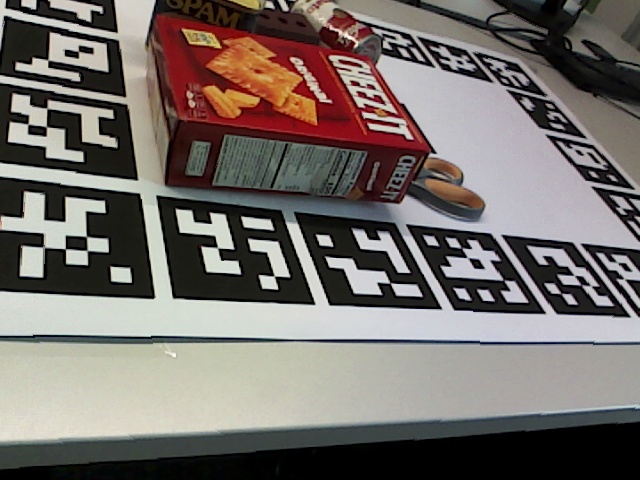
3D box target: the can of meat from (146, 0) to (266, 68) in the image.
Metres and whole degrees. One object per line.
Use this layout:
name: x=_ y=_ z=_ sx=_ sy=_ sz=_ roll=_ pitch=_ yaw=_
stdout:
can of meat: x=-0.115 y=-0.206 z=0.614 sx=0.101 sy=0.084 sz=0.058 roll=13 pitch=42 yaw=-19

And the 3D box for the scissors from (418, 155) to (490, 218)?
scissors: x=0.076 y=-0.055 z=0.600 sx=0.201 sy=0.016 sz=0.088 roll=-2 pitch=48 yaw=-32

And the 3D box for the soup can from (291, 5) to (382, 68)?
soup can: x=0.013 y=-0.230 z=0.747 sx=0.102 sy=0.068 sz=0.067 roll=34 pitch=39 yaw=15

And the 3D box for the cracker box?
cracker box: x=-0.024 y=-0.106 z=0.547 sx=0.212 sy=0.072 sz=0.165 roll=-5 pitch=48 yaw=-29

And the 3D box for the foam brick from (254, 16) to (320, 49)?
foam brick: x=-0.050 y=-0.213 z=0.691 sx=0.077 sy=0.051 sz=0.053 roll=-7 pitch=51 yaw=-36
